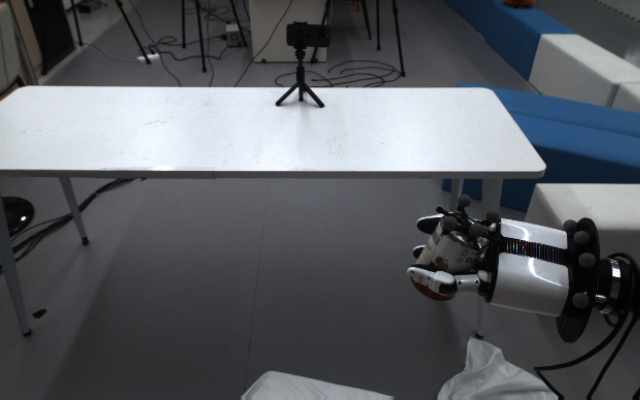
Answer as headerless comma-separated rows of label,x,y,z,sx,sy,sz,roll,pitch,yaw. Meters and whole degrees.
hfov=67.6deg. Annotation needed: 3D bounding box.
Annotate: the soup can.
soup can,0.171,0.074,0.641,0.067,0.101,0.067,14,35,-10
